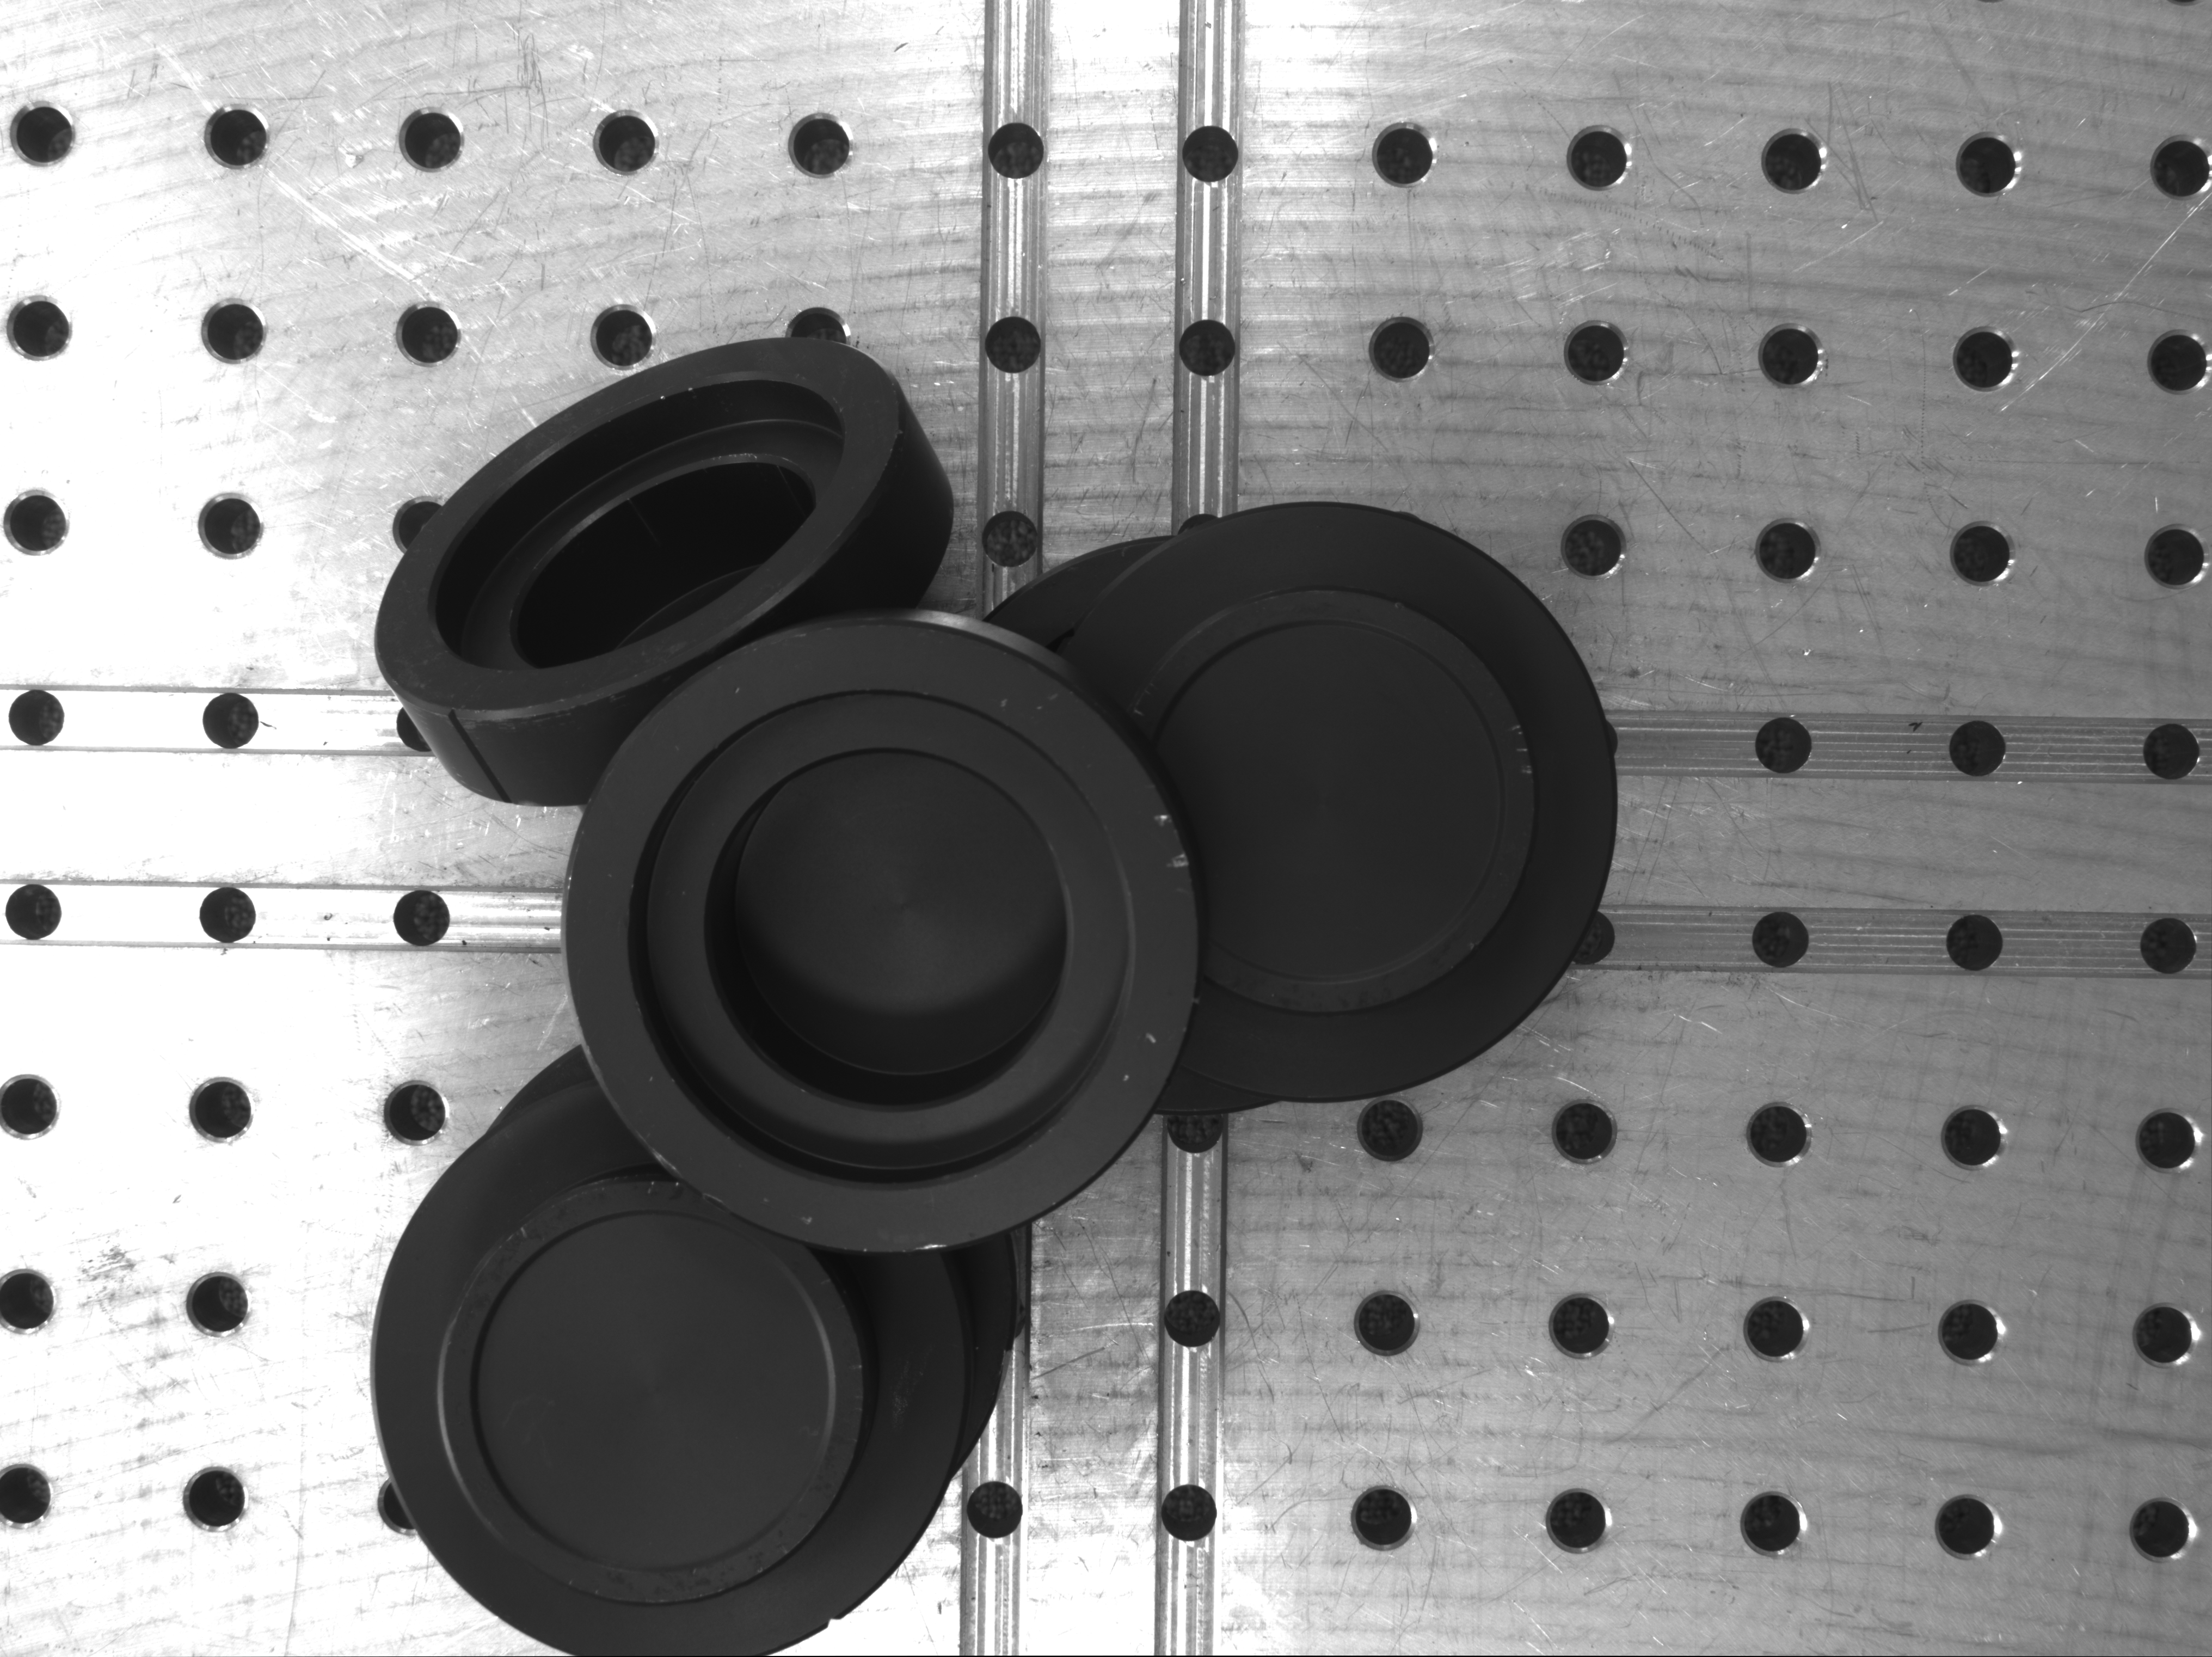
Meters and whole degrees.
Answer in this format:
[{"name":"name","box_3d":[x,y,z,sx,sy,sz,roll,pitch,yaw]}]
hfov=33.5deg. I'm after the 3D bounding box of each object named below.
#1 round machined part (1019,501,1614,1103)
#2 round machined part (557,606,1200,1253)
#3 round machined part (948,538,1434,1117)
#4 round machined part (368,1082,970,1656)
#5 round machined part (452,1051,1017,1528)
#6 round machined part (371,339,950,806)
[{"name":"round machined part","box_3d":[0.034,-0.004,0.597,0.098,0.042,0.098,0,89,0]},{"name":"round machined part","box_3d":[-0.034,0.014,0.576,0.098,0.042,0.098,0,98,3]},{"name":"round machined part","box_3d":[0.012,0.000,0.619,0.098,0.042,0.098,0,90,0]},{"name":"round machined part","box_3d":[-0.071,0.089,0.597,0.098,0.042,0.098,0,90,0]},{"name":"round machined part","box_3d":[-0.064,0.079,0.619,0.098,0.042,0.098,0,90,0]},{"name":"round machined part","box_3d":[-0.071,-0.037,0.621,0.098,0.098,0.042,-28,125,0]}]
